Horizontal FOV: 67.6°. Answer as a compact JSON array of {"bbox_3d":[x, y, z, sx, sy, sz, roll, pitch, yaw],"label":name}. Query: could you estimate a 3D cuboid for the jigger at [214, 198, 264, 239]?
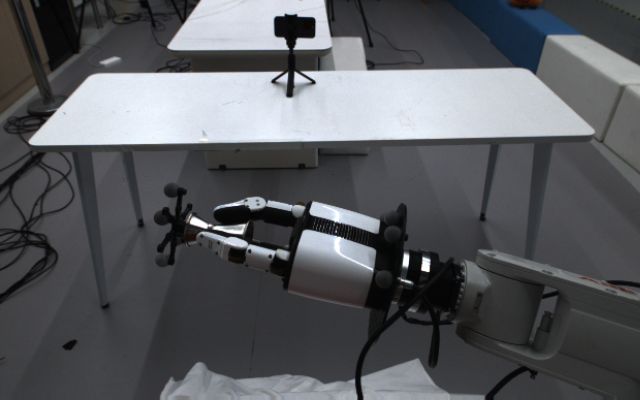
[{"bbox_3d":[-0.106,0.037,0.549,0.071,0.043,0.043,9,35,4],"label":"jigger"}]
